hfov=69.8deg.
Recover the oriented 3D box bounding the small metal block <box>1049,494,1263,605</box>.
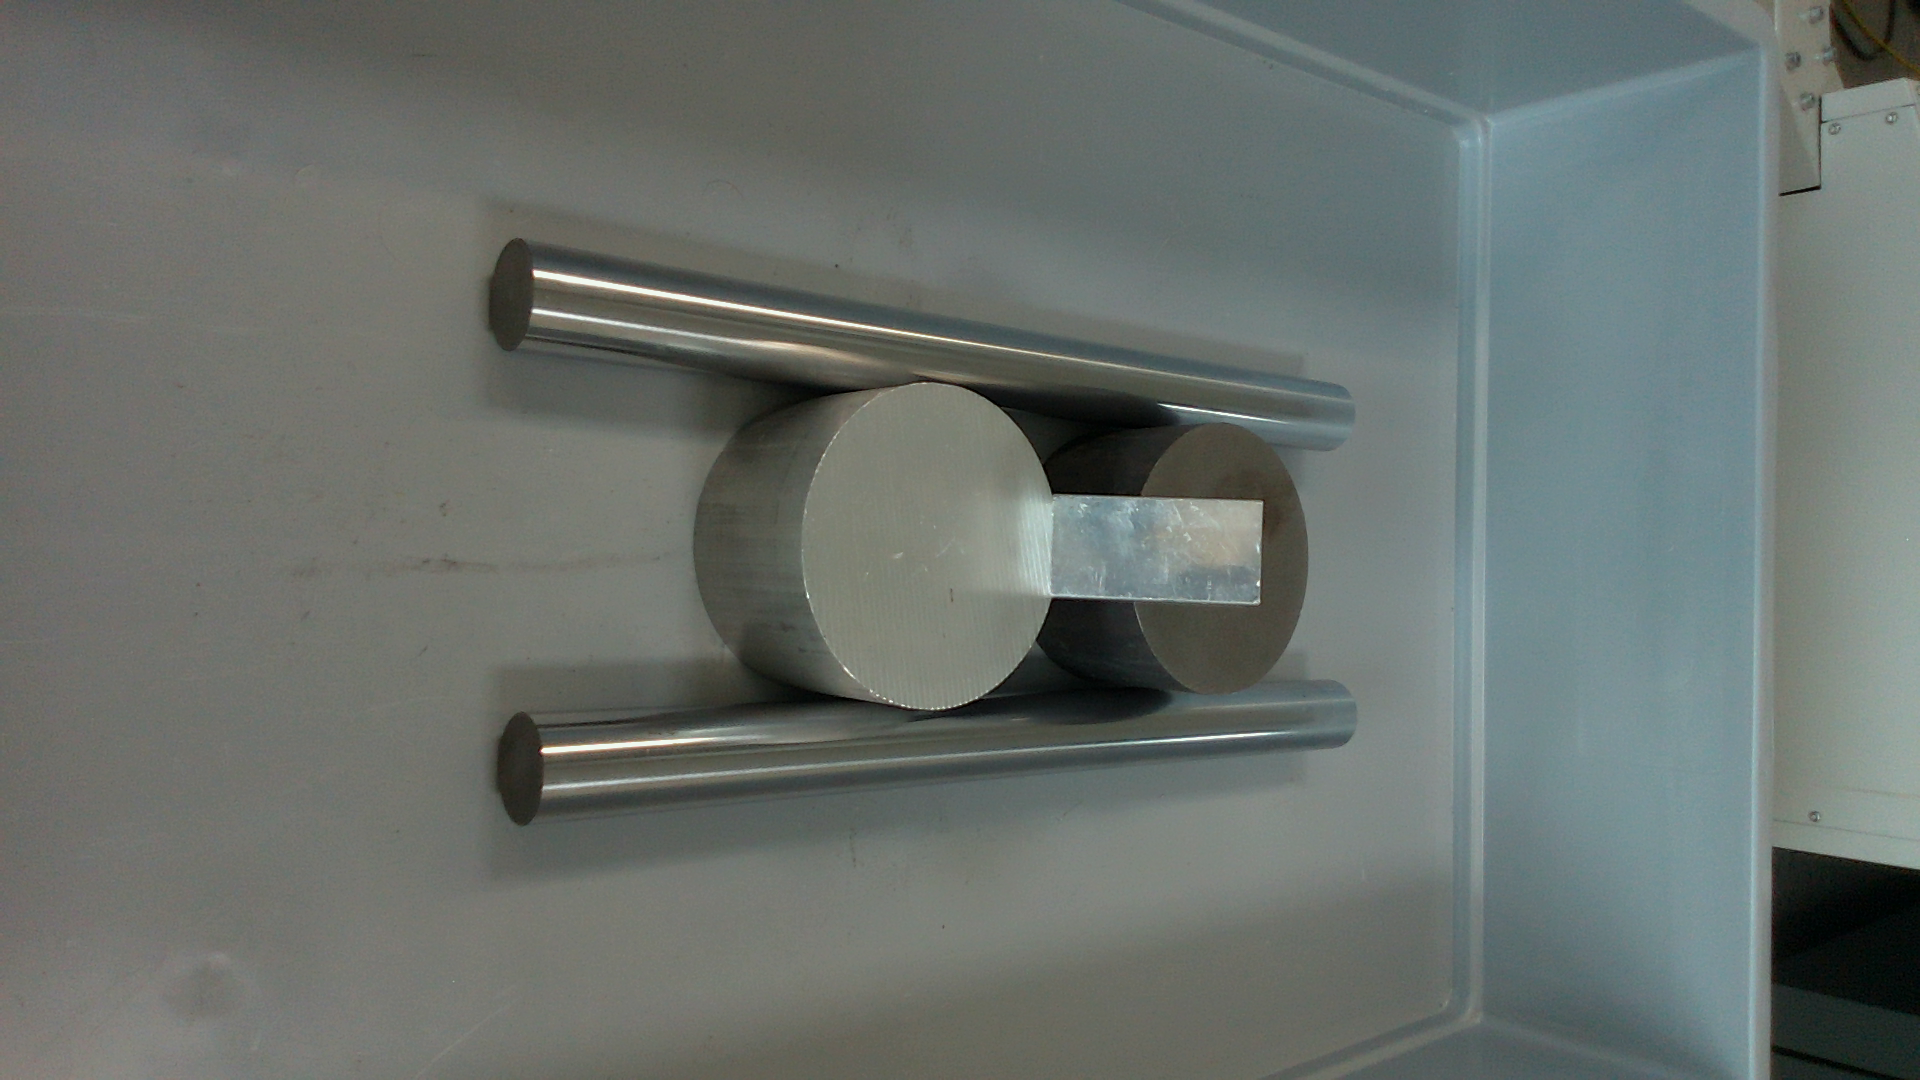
[{"bbox_3d":[0.050,0.003,0.353,0.050,0.050,0.025,23,69,-82],"label":"small metal block"}]

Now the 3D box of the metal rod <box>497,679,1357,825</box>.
[{"bbox_3d":[0.017,0.057,0.402,0.301,0.025,0.025,3,88,-40],"label":"metal rod"}]

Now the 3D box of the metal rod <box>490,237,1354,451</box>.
[{"bbox_3d":[0.016,-0.049,0.401,0.301,0.025,0.025,2,88,-40],"label":"metal rod"}]

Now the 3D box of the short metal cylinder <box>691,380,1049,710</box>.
[{"bbox_3d":[-0.021,0.001,0.354,0.080,0.050,0.080,0,90,-40],"label":"short metal cylinder"}]

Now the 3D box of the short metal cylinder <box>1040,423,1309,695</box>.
[{"bbox_3d":[0.063,0.005,0.424,0.080,0.050,0.080,0,90,-40],"label":"short metal cylinder"}]
